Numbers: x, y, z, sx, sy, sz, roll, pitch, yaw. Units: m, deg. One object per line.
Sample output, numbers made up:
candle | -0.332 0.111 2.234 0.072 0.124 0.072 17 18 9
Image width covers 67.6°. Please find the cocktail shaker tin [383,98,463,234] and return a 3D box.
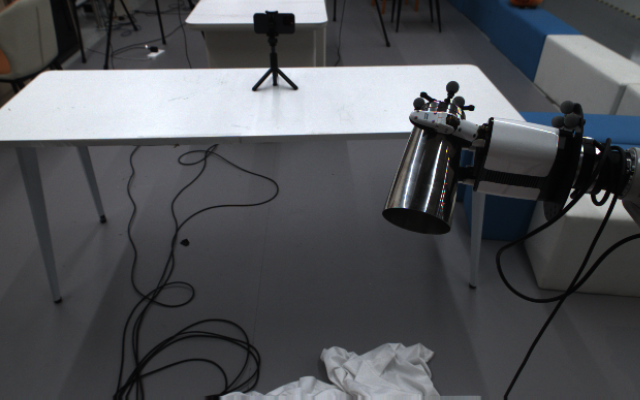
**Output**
cocktail shaker tin | 0.154 -0.051 0.672 0.093 0.093 0.170 13 72 15
